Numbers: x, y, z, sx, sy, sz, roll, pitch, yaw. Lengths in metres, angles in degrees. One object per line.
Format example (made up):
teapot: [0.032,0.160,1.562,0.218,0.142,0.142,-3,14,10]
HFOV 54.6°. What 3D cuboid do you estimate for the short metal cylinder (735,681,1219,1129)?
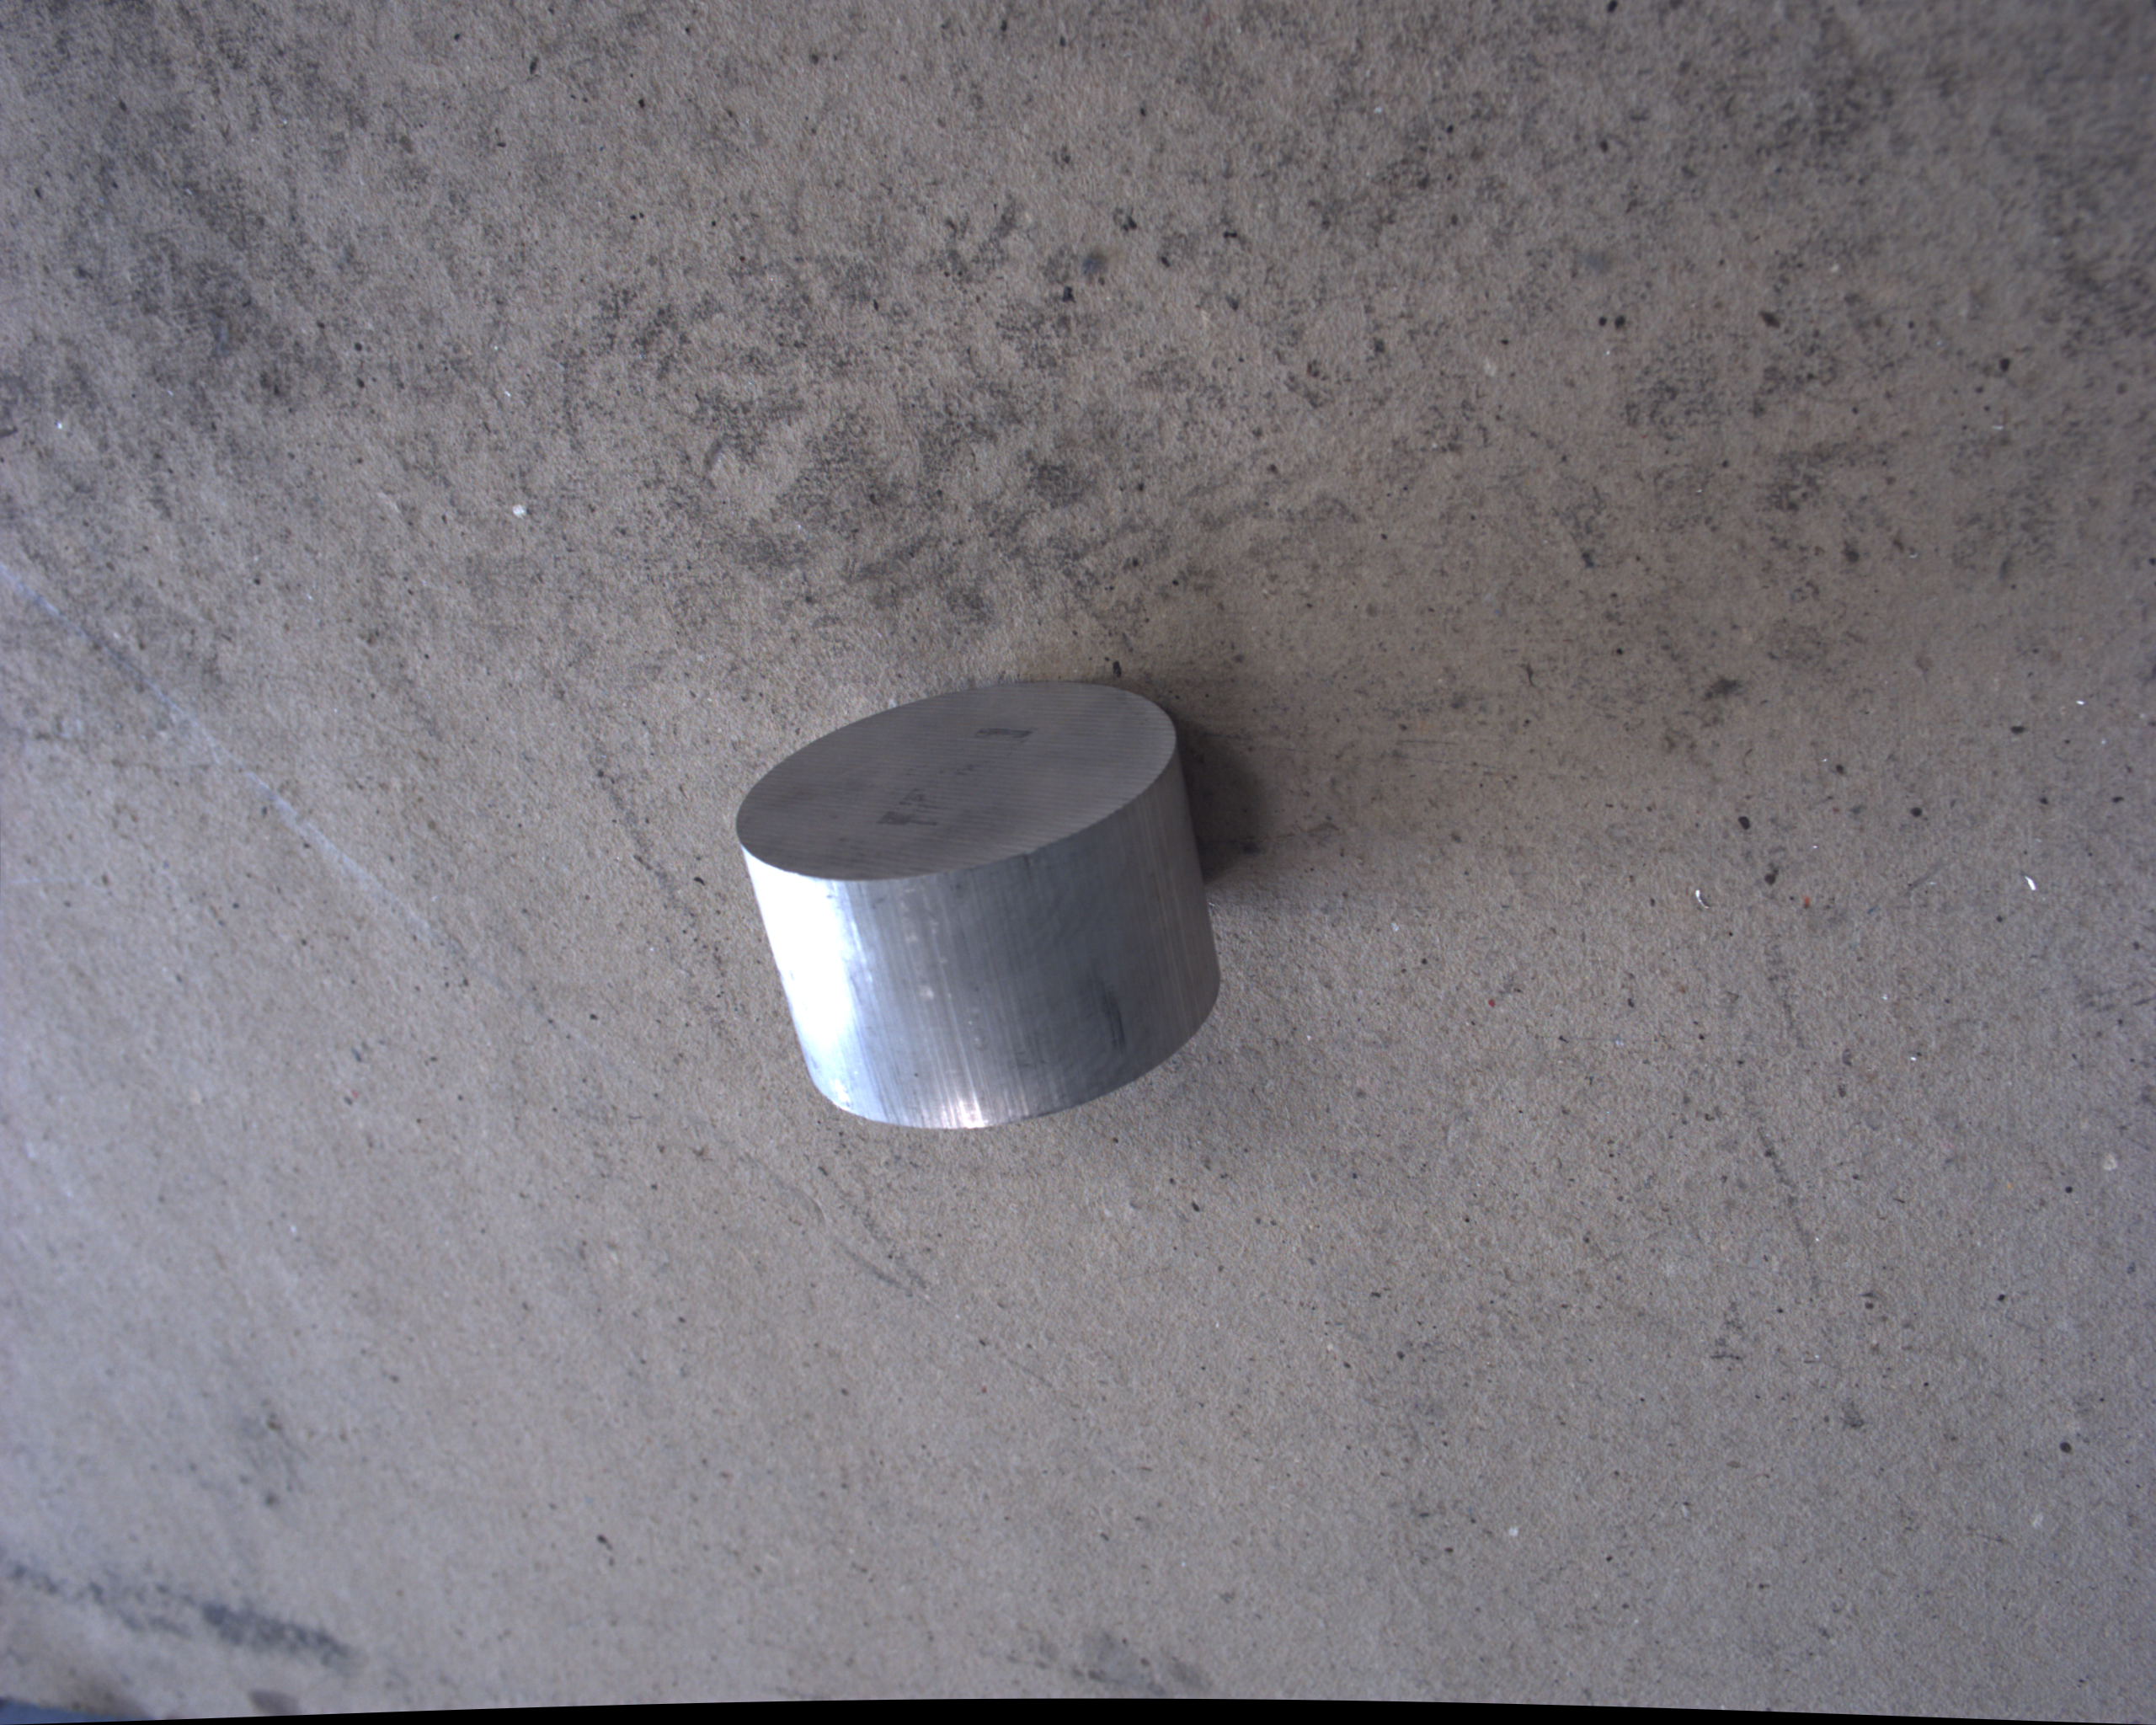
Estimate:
short metal cylinder: [-0.017,0.005,0.386,0.080,0.080,0.050,2,119,27]
